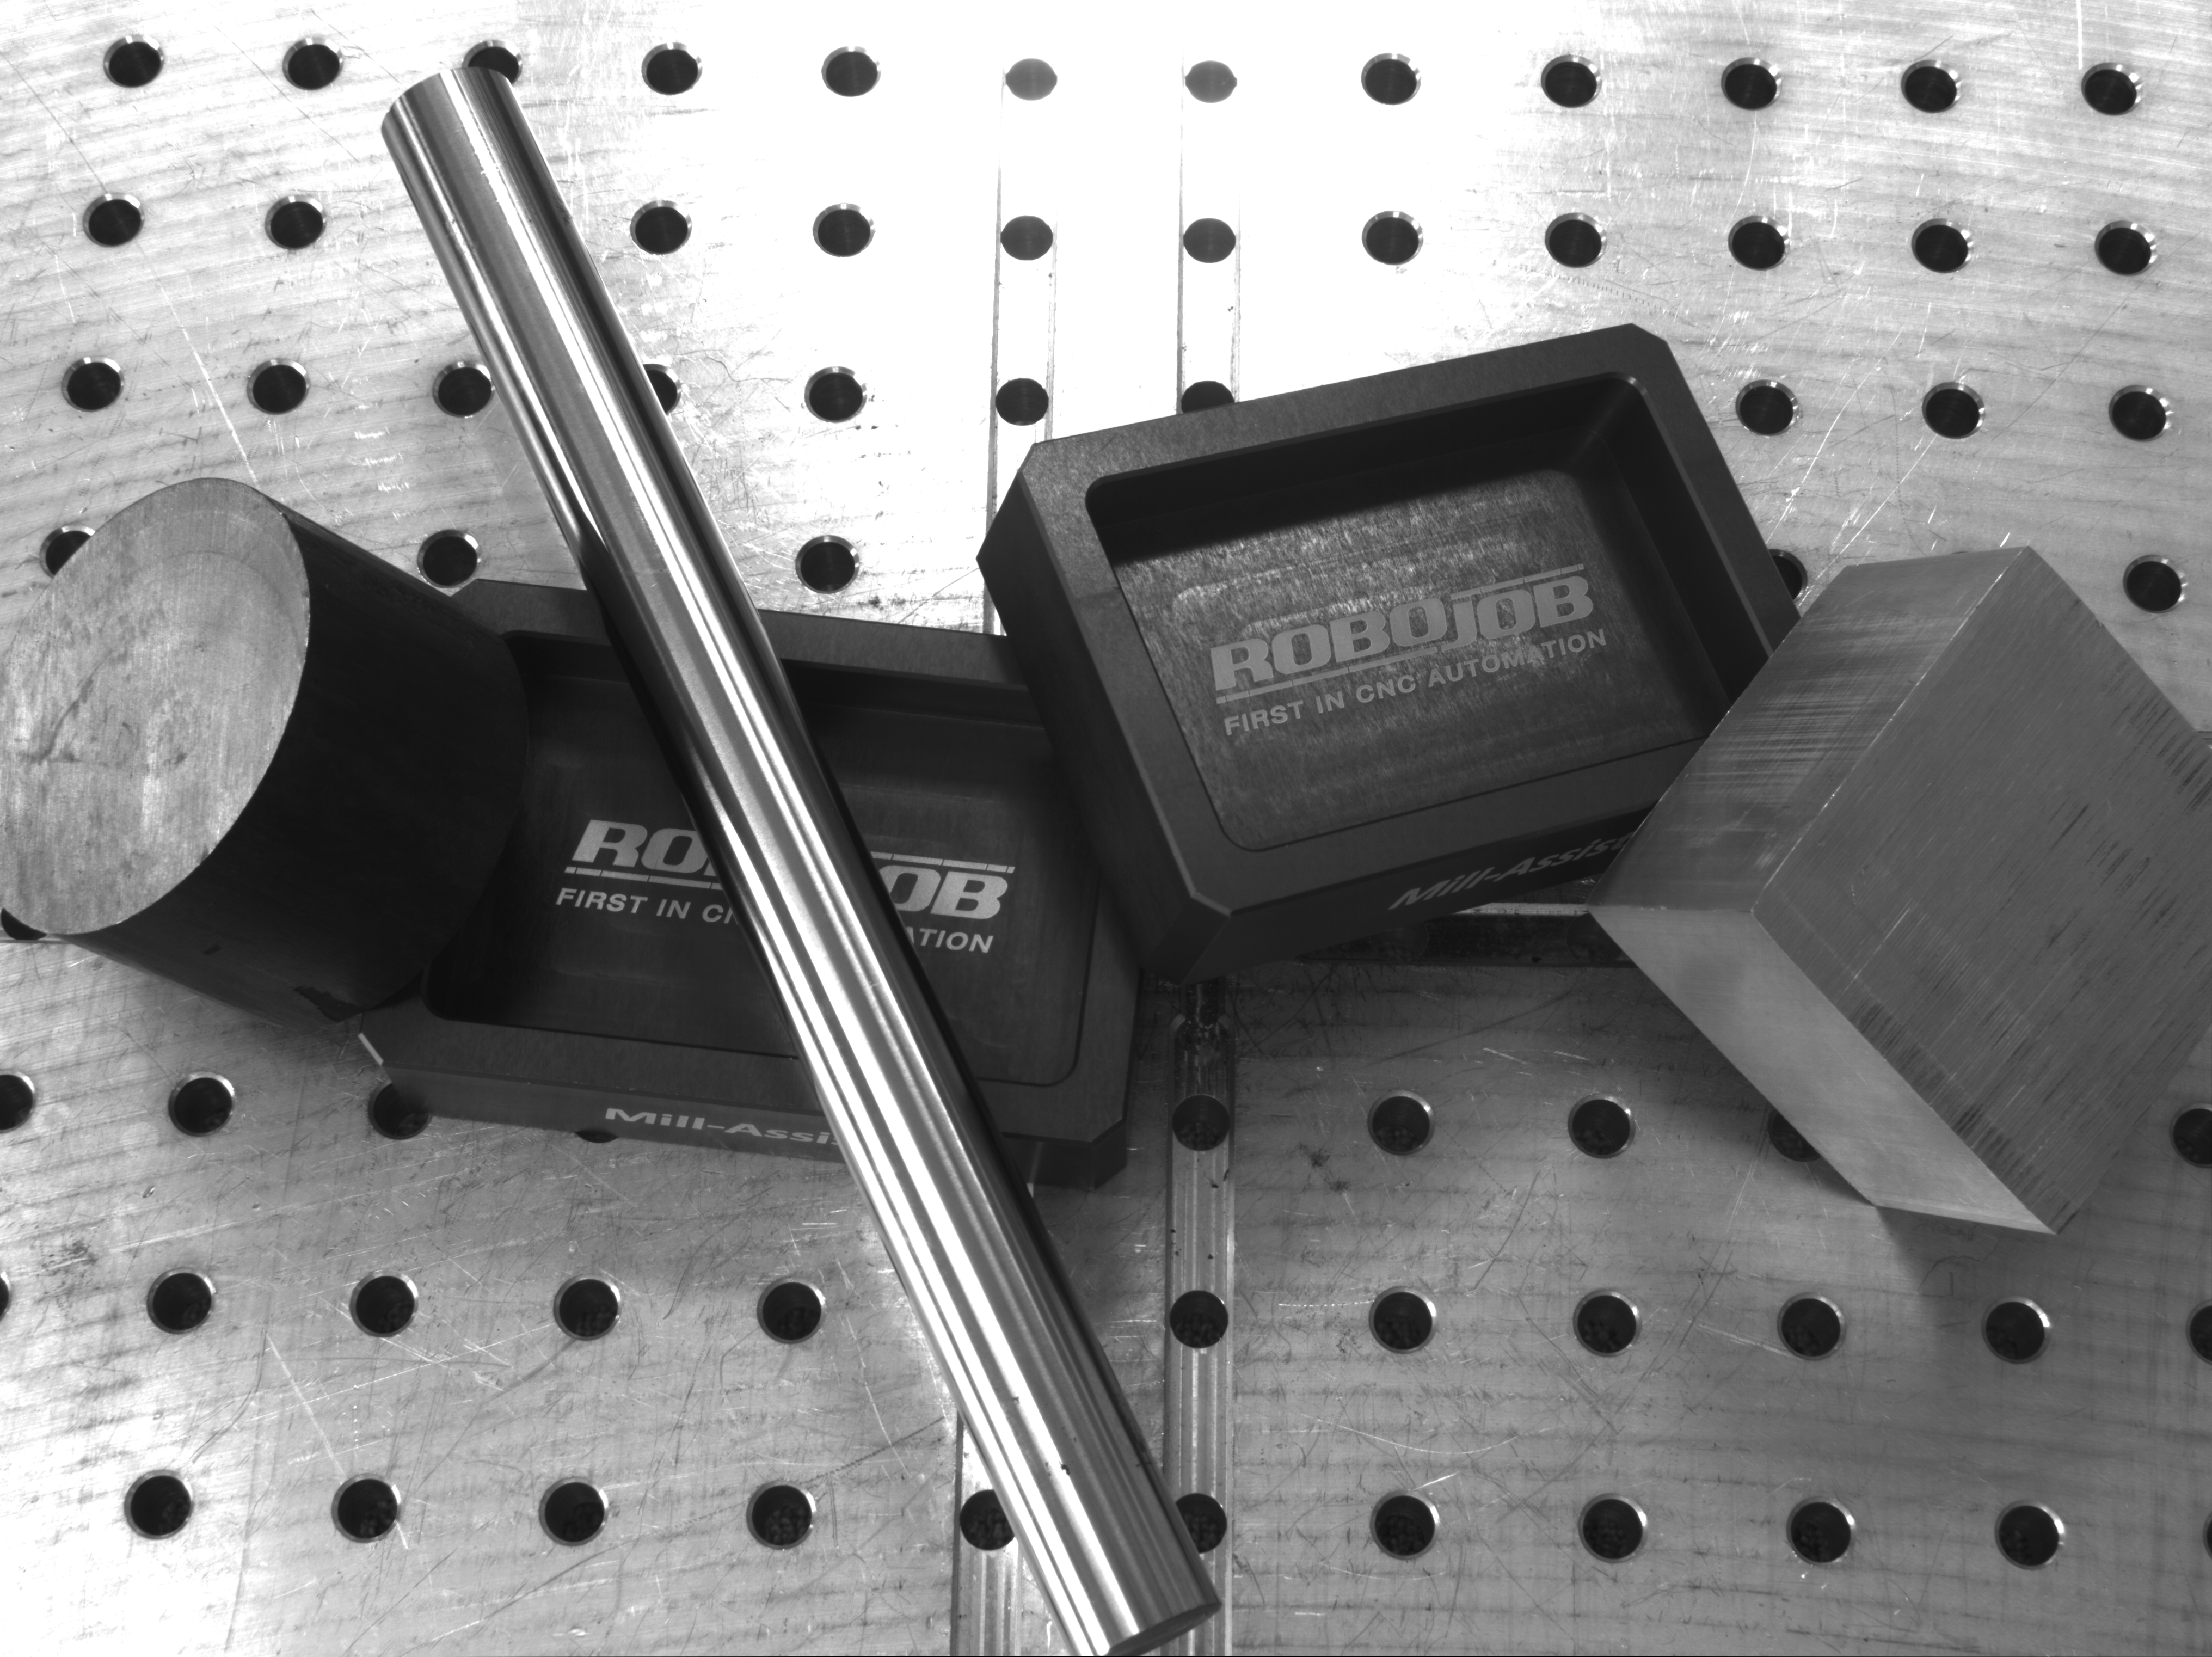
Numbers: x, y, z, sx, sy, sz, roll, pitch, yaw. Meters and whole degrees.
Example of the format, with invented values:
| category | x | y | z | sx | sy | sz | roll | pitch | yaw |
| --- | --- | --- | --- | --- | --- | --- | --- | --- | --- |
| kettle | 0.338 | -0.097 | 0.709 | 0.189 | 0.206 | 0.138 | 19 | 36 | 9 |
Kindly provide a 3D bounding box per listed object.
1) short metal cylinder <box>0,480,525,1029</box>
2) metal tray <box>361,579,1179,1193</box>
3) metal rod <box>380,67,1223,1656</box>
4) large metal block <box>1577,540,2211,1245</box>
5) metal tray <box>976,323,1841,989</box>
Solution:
| category | x | y | z | sx | sy | sz | roll | pitch | yaw |
| --- | --- | --- | --- | --- | --- | --- | --- | --- | --- |
| short metal cylinder | -0.145 | -0.012 | 0.620 | 0.080 | 0.050 | 0.080 | -16 | 61 | 31 |
| metal tray | -0.056 | 0.010 | 0.641 | 0.130 | 0.030 | 0.090 | 6 | 70 | 2 |
| metal rod | -0.056 | -0.002 | 0.617 | 0.025 | 0.025 | 0.300 | -24 | 72 | -8 |
| large metal block | 0.140 | 0.010 | 0.612 | 0.080 | 0.050 | 0.080 | 45 | 74 | -17 |
| metal tray | 0.054 | -0.032 | 0.637 | 0.130 | 0.030 | 0.090 | -14 | 70 | -23 |
